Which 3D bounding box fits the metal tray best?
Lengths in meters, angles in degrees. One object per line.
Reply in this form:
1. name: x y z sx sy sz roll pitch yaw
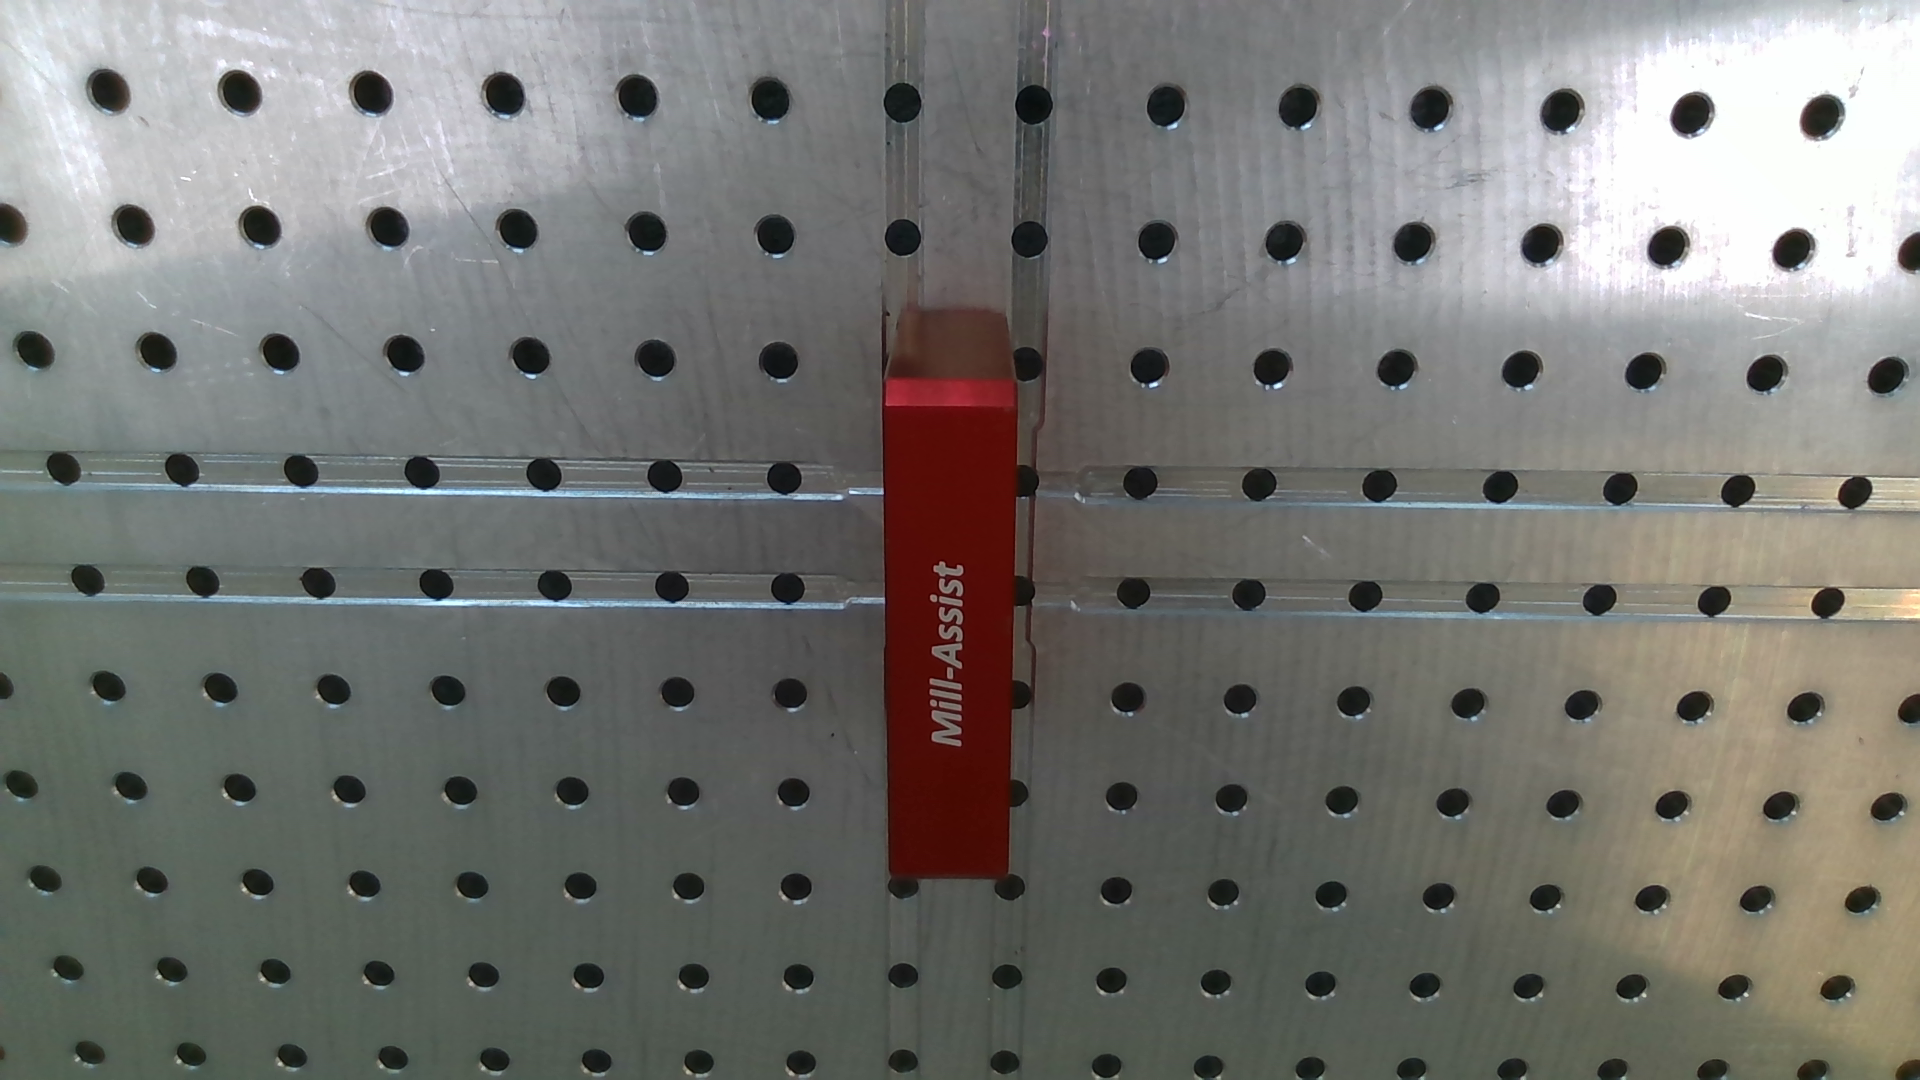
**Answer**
1. metal tray: -0.003 0.011 0.365 0.030 0.090 0.130 0 110 0
